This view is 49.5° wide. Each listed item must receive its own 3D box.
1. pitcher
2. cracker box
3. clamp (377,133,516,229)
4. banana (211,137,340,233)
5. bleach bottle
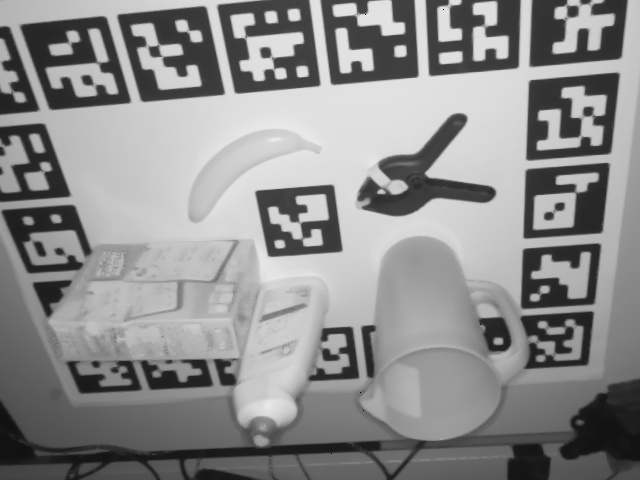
[{"bbox_3d":[0.162,0.121,0.818,0.187,0.245,0.133,-17,120,17],"label":"pitcher"},{"bbox_3d":[-0.179,0.078,0.862,0.214,0.165,0.071,-1,125,2],"label":"cracker box"},{"bbox_3d":[0.148,-0.057,0.857,0.164,0.037,0.121,-16,121,14],"label":"clamp"},{"bbox_3d":[-0.073,-0.074,0.865,0.195,0.039,0.074,-33,115,20],"label":"banana"},{"bbox_3d":[-0.021,0.151,0.868,0.102,0.253,0.067,-2,122,5],"label":"bleach bottle"}]
